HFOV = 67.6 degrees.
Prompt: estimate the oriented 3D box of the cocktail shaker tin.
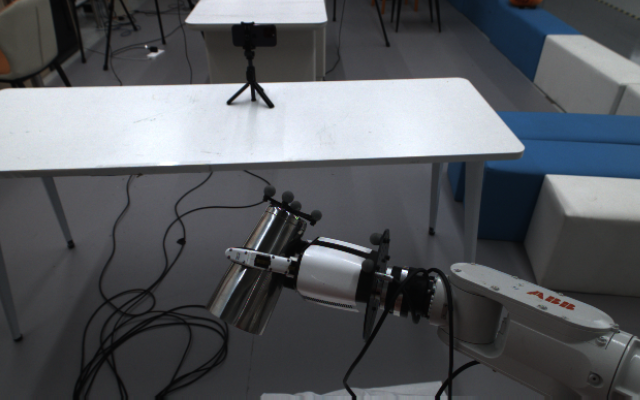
[{"bbox_3d":[-0.084,0.093,0.702,0.093,0.093,0.170,21,81,26],"label":"cocktail shaker tin"}]
